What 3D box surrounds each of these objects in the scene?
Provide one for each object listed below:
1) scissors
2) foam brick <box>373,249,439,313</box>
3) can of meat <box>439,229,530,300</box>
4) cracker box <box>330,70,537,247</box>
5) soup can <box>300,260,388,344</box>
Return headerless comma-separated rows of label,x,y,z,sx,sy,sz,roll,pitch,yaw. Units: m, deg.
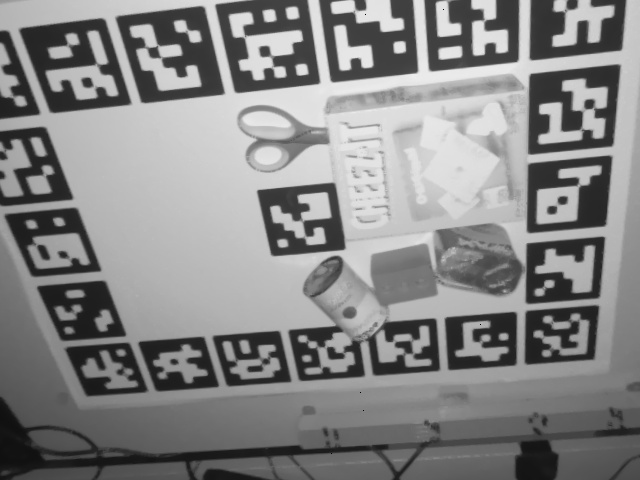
scissors,0.015,-0.125,0.816,0.202,0.016,0.087,-9,117,7
foam brick,0.111,0.053,0.902,0.078,0.052,0.052,-14,116,11
can of meat,0.200,0.027,0.862,0.102,0.084,0.057,8,118,-1
cracker box,0.131,-0.088,0.795,0.213,0.072,0.163,-11,118,4
soup can,0.033,0.083,0.921,0.067,0.068,0.102,-40,115,22
